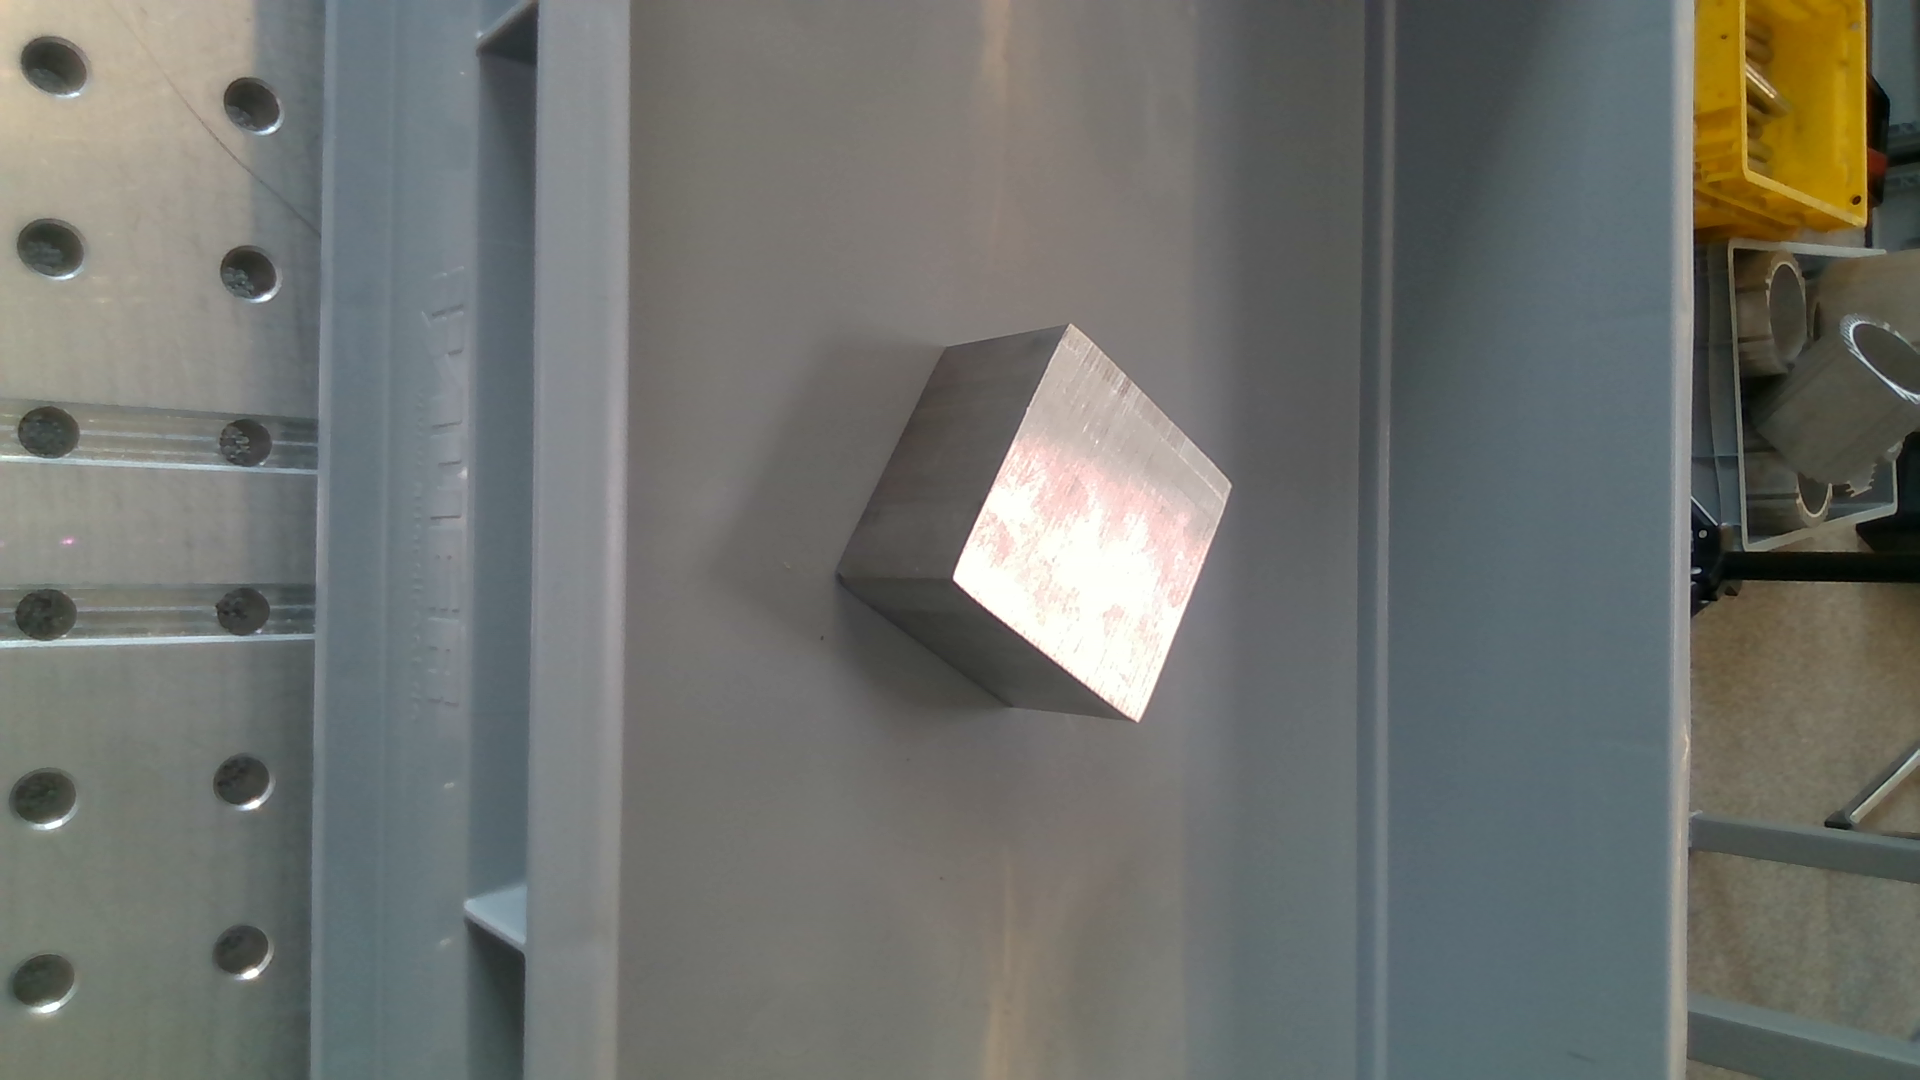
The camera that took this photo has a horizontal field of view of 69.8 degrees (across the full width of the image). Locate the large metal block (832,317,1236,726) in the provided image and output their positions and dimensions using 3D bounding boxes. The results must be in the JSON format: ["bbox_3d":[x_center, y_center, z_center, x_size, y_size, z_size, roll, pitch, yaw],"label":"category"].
[{"bbox_3d":[0.023,-0.004,0.390,0.080,0.050,0.080,39,66,-34],"label":"large metal block"}]
